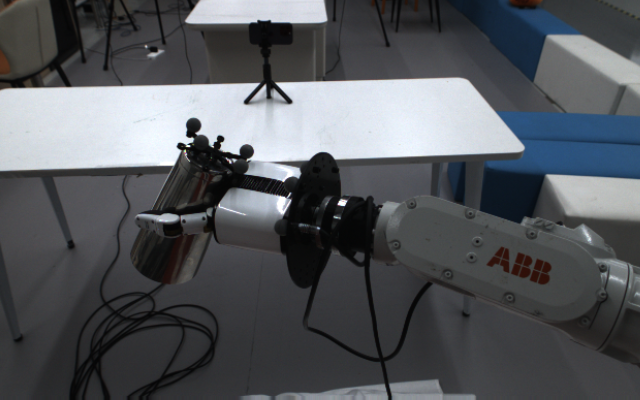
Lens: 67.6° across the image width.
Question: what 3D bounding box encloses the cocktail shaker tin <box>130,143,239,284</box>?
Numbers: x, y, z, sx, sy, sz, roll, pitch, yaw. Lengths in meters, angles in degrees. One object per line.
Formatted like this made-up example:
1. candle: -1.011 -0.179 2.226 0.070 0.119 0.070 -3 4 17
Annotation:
1. cocktail shaker tin: -0.168 0.012 0.614 0.093 0.170 0.093 25 29 -15
